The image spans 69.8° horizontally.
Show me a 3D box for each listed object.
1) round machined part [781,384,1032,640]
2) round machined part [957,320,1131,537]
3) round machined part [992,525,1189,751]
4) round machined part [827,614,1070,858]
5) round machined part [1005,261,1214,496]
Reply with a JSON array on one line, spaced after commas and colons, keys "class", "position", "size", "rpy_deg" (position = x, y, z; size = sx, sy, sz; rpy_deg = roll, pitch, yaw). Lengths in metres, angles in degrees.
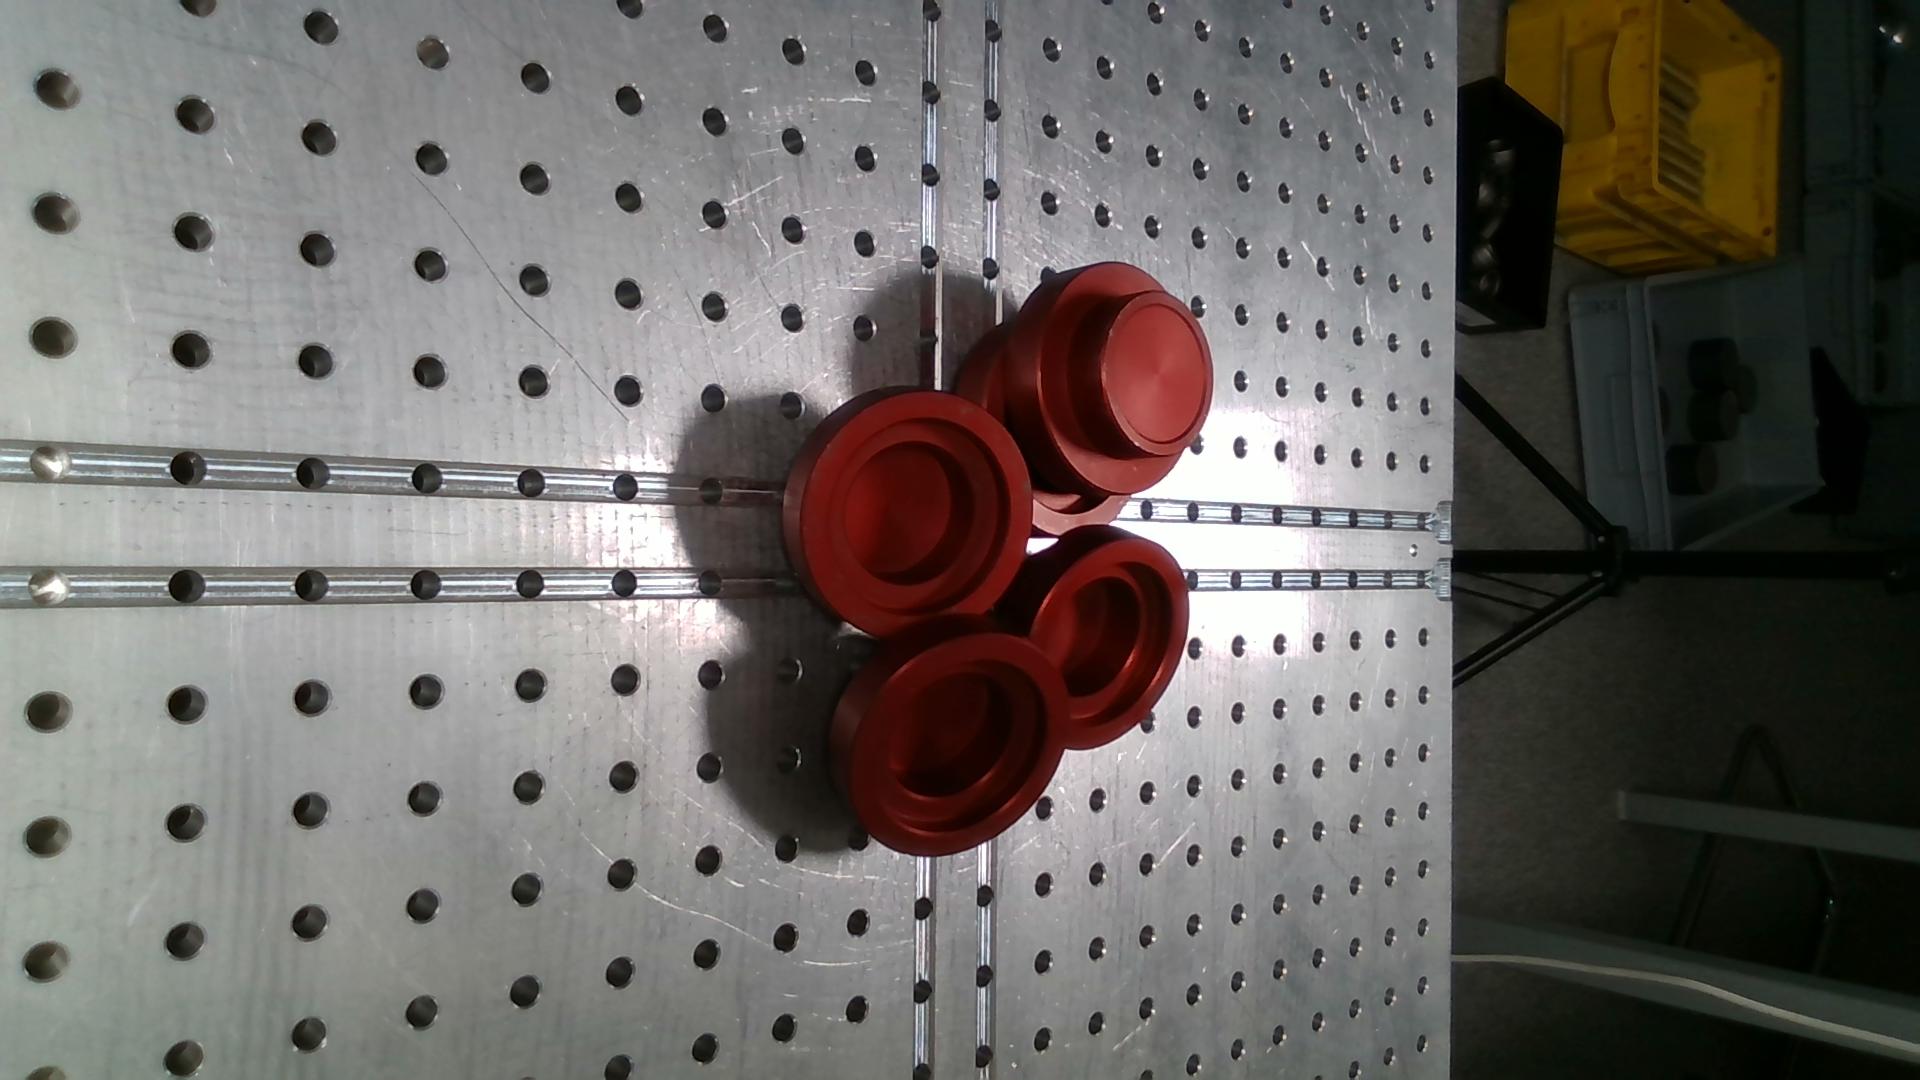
[{"class": "round machined part", "position": [-0.024, -0.012, 0.543], "size": [0.098, 0.042, 0.098], "rpy_deg": [-5, 102, -25]}, {"class": "round machined part", "position": [0.034, -0.049, 0.603], "size": [0.098, 0.042, 0.098], "rpy_deg": [0, 90, -40]}, {"class": "round machined part", "position": [0.052, 0.040, 0.608], "size": [0.098, 0.042, 0.098], "rpy_deg": [-15, 115, -35]}, {"class": "round machined part", "position": [-0.008, 0.074, 0.553], "size": [0.098, 0.042, 0.098], "rpy_deg": [-12, 116, -25]}, {"class": "round machined part", "position": [0.069, -0.068, 0.577], "size": [0.098, 0.042, 0.098], "rpy_deg": [0, 90, -40]}]
